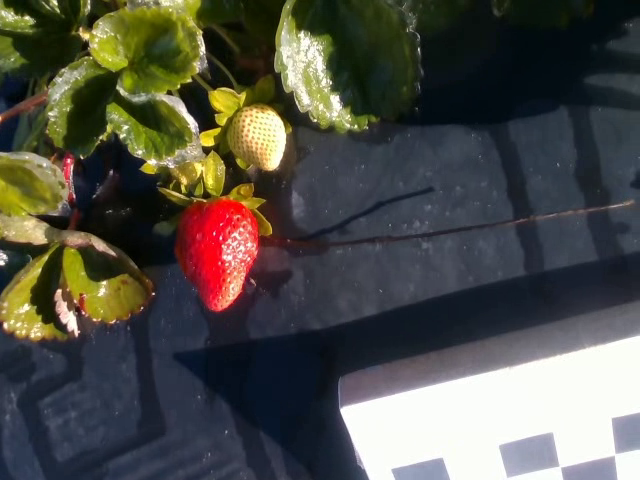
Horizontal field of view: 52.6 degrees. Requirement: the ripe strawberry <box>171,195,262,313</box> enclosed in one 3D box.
[{"bbox_3d":[-0.032,0.008,0.214,0.039,0.039,0.040,-20,-35,23],"label":"ripe strawberry"}]
